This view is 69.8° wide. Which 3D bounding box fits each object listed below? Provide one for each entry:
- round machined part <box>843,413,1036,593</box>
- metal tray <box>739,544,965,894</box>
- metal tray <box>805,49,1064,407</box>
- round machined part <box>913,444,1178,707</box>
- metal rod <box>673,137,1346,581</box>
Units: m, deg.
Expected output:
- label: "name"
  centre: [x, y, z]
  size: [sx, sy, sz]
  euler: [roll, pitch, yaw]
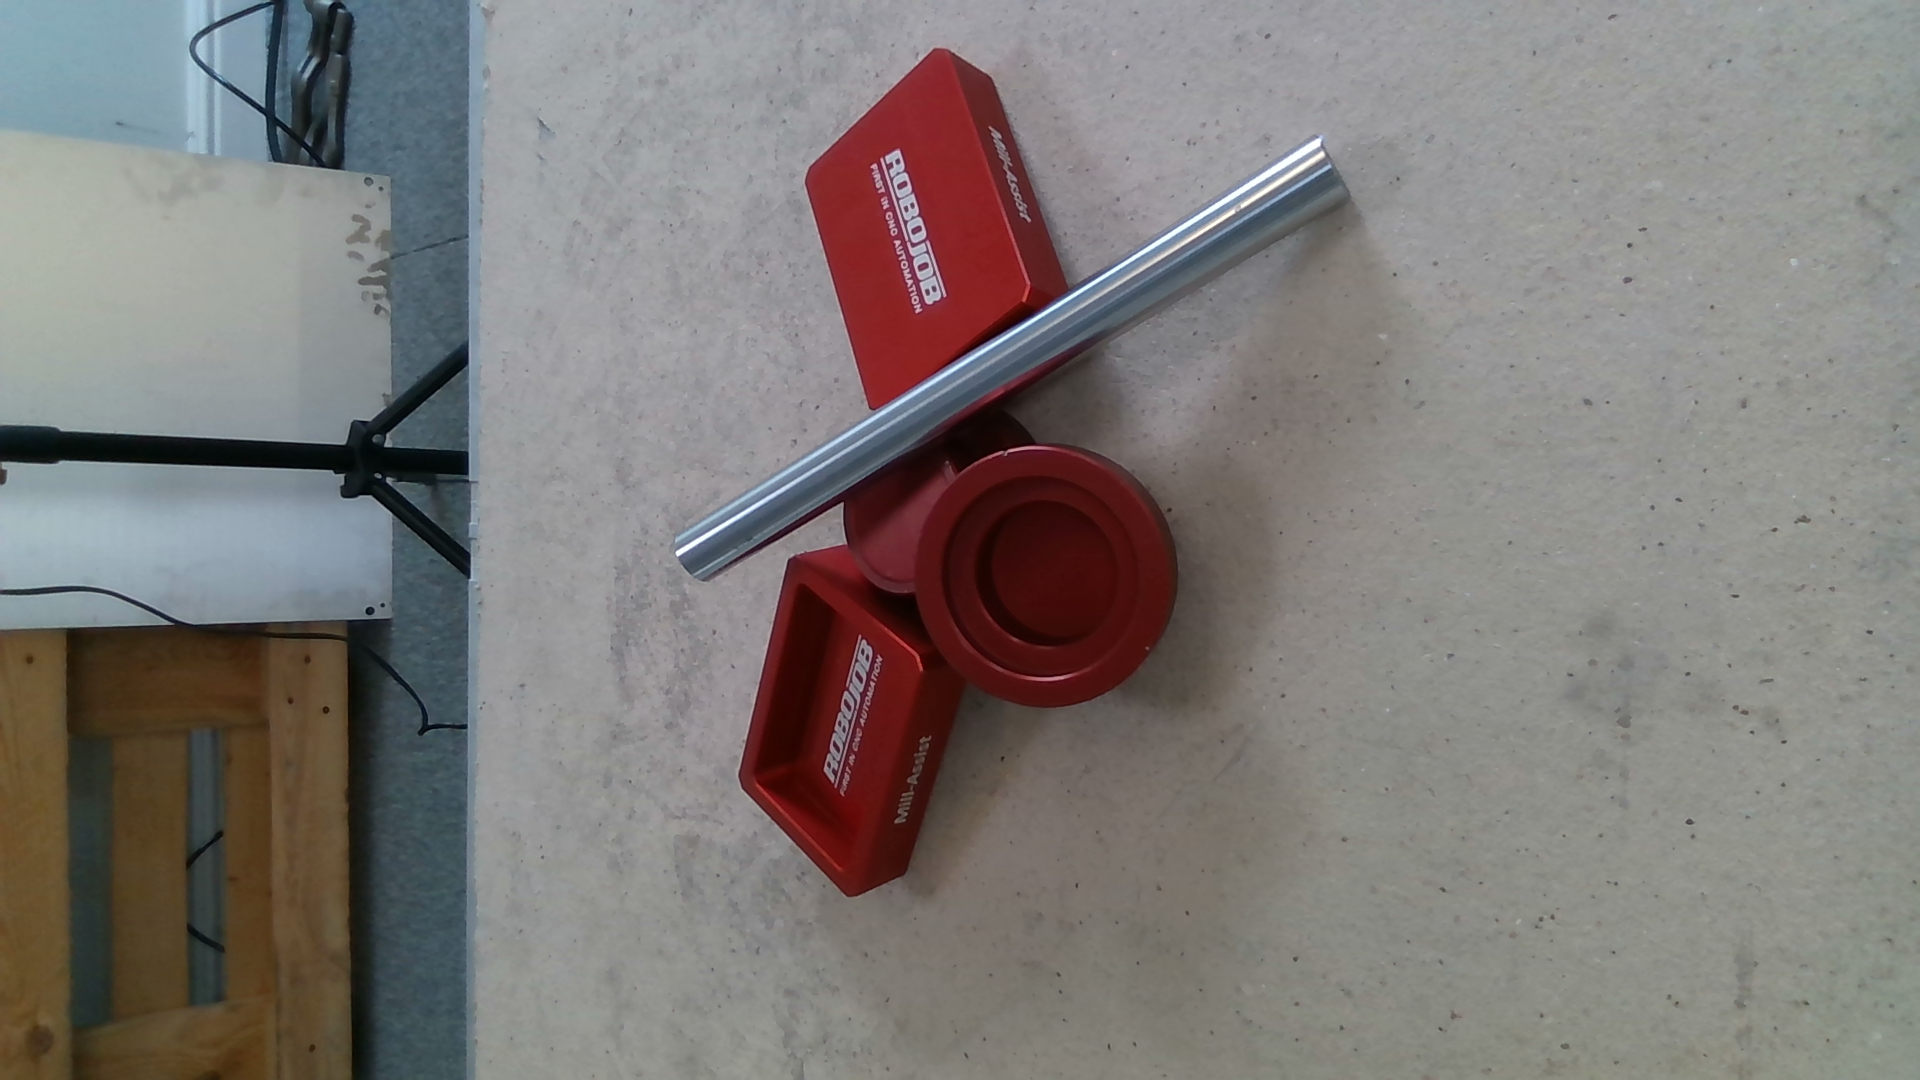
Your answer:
- label: "round machined part"
  centre: [-0.011, -0.012, 0.582]
  size: [0.098, 0.042, 0.098]
  euler: [0, 91, 40]
- label: "metal tray"
  centre: [-0.049, 0.078, 0.608]
  size: [0.090, 0.030, 0.130]
  euler: [36, 123, 34]
- label: "metal tray"
  centre: [-0.012, -0.126, 0.574]
  size: [0.090, 0.030, 0.130]
  euler: [-33, 61, 33]
- label: "round machined part"
  centre: [0.035, 0.011, 0.528]
  size: [0.098, 0.042, 0.098]
  euler: [2, 98, 18]
- label: "metal rod"
  centre: [0.006, -0.061, 0.533]
  size: [0.300, 0.025, 0.025]
  euler: [-29, 72, 23]
